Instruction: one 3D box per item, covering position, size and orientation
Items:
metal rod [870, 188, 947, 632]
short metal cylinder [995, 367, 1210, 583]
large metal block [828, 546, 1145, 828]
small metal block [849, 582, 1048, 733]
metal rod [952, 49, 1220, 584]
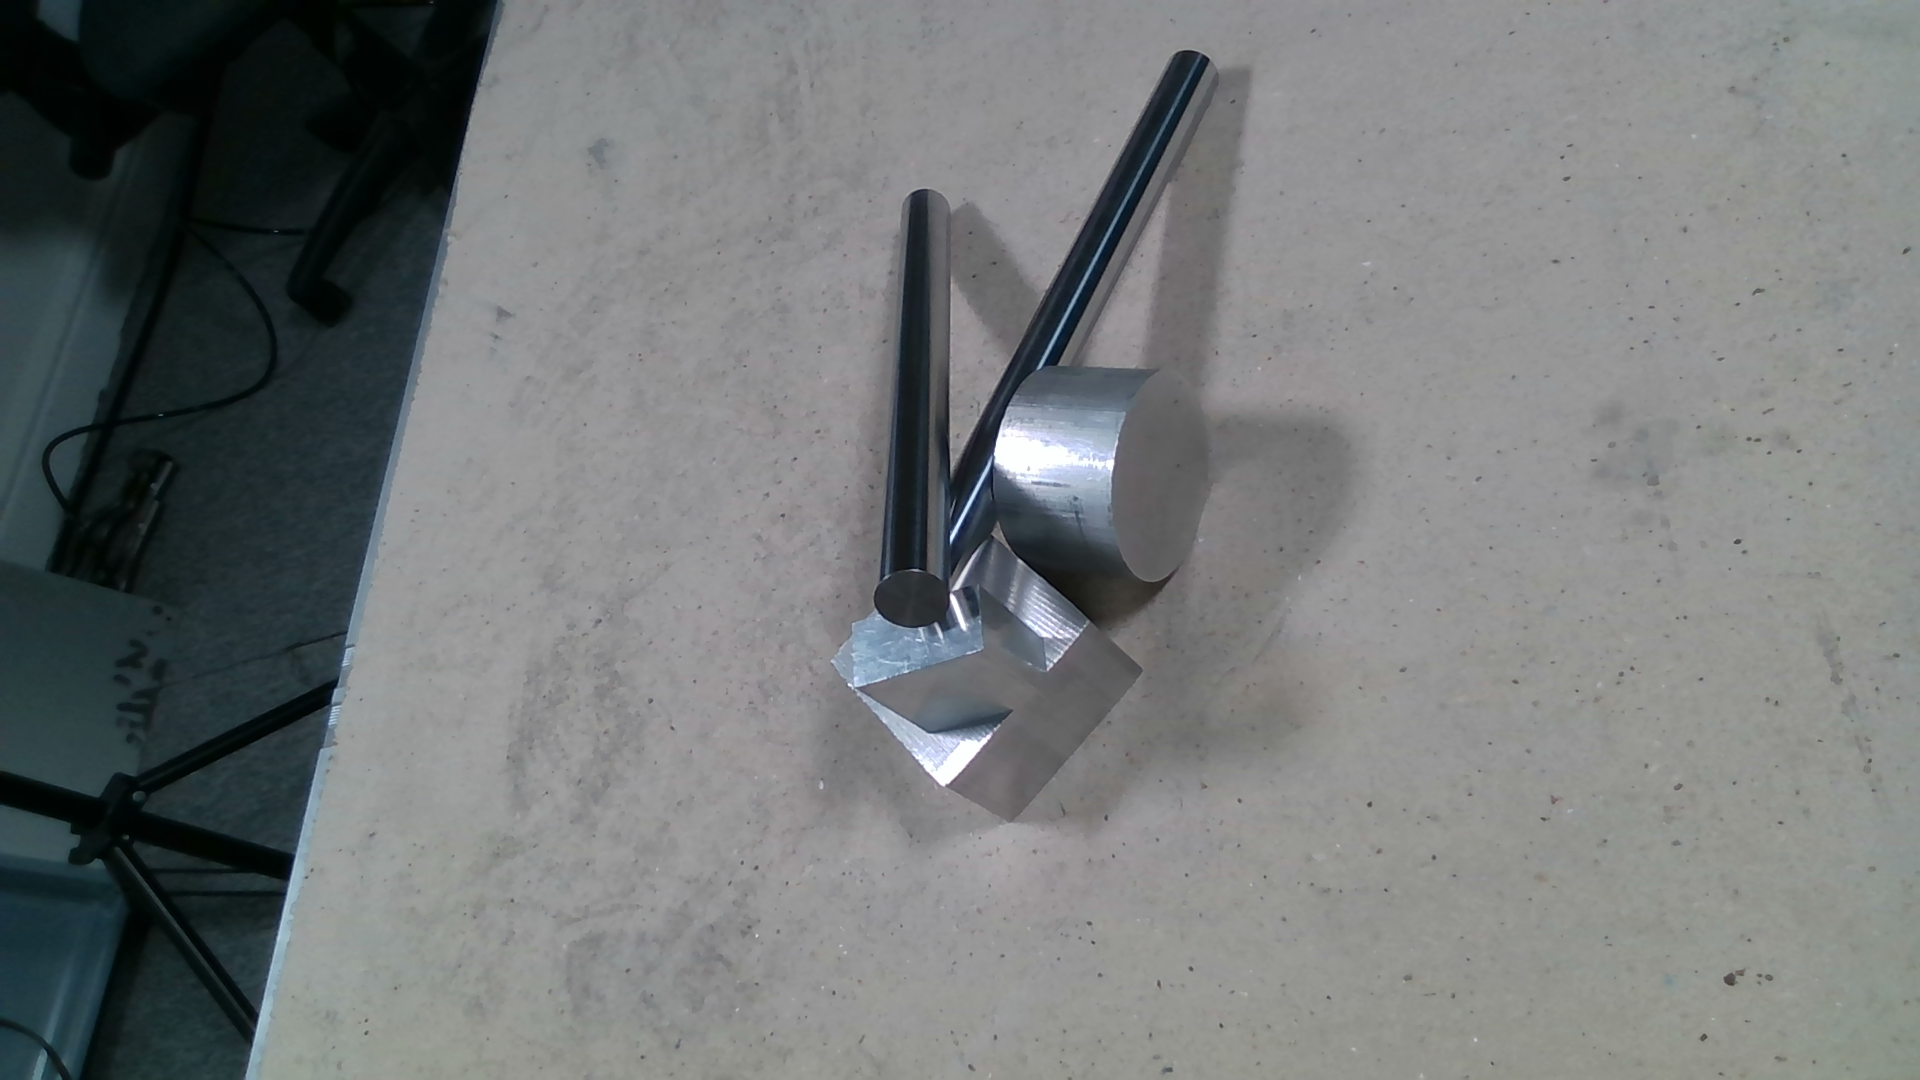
[{"bbox_3d":[-0.017,-0.071,0.565,0.025,0.025,0.299,-25,34,18],"label":"metal rod"},{"bbox_3d":[0.056,-0.026,0.531,0.050,0.080,0.080,7,69,34],"label":"short metal cylinder"},{"bbox_3d":[0.009,0.050,0.535,0.080,0.050,0.080,-48,50,0],"label":"large metal block"},{"bbox_3d":[-0.004,0.042,0.481,0.050,0.050,0.025,-18,56,23],"label":"small metal block"},{"bbox_3d":[0.047,-0.096,0.570,0.025,0.025,0.299,8,58,34],"label":"metal rod"}]
